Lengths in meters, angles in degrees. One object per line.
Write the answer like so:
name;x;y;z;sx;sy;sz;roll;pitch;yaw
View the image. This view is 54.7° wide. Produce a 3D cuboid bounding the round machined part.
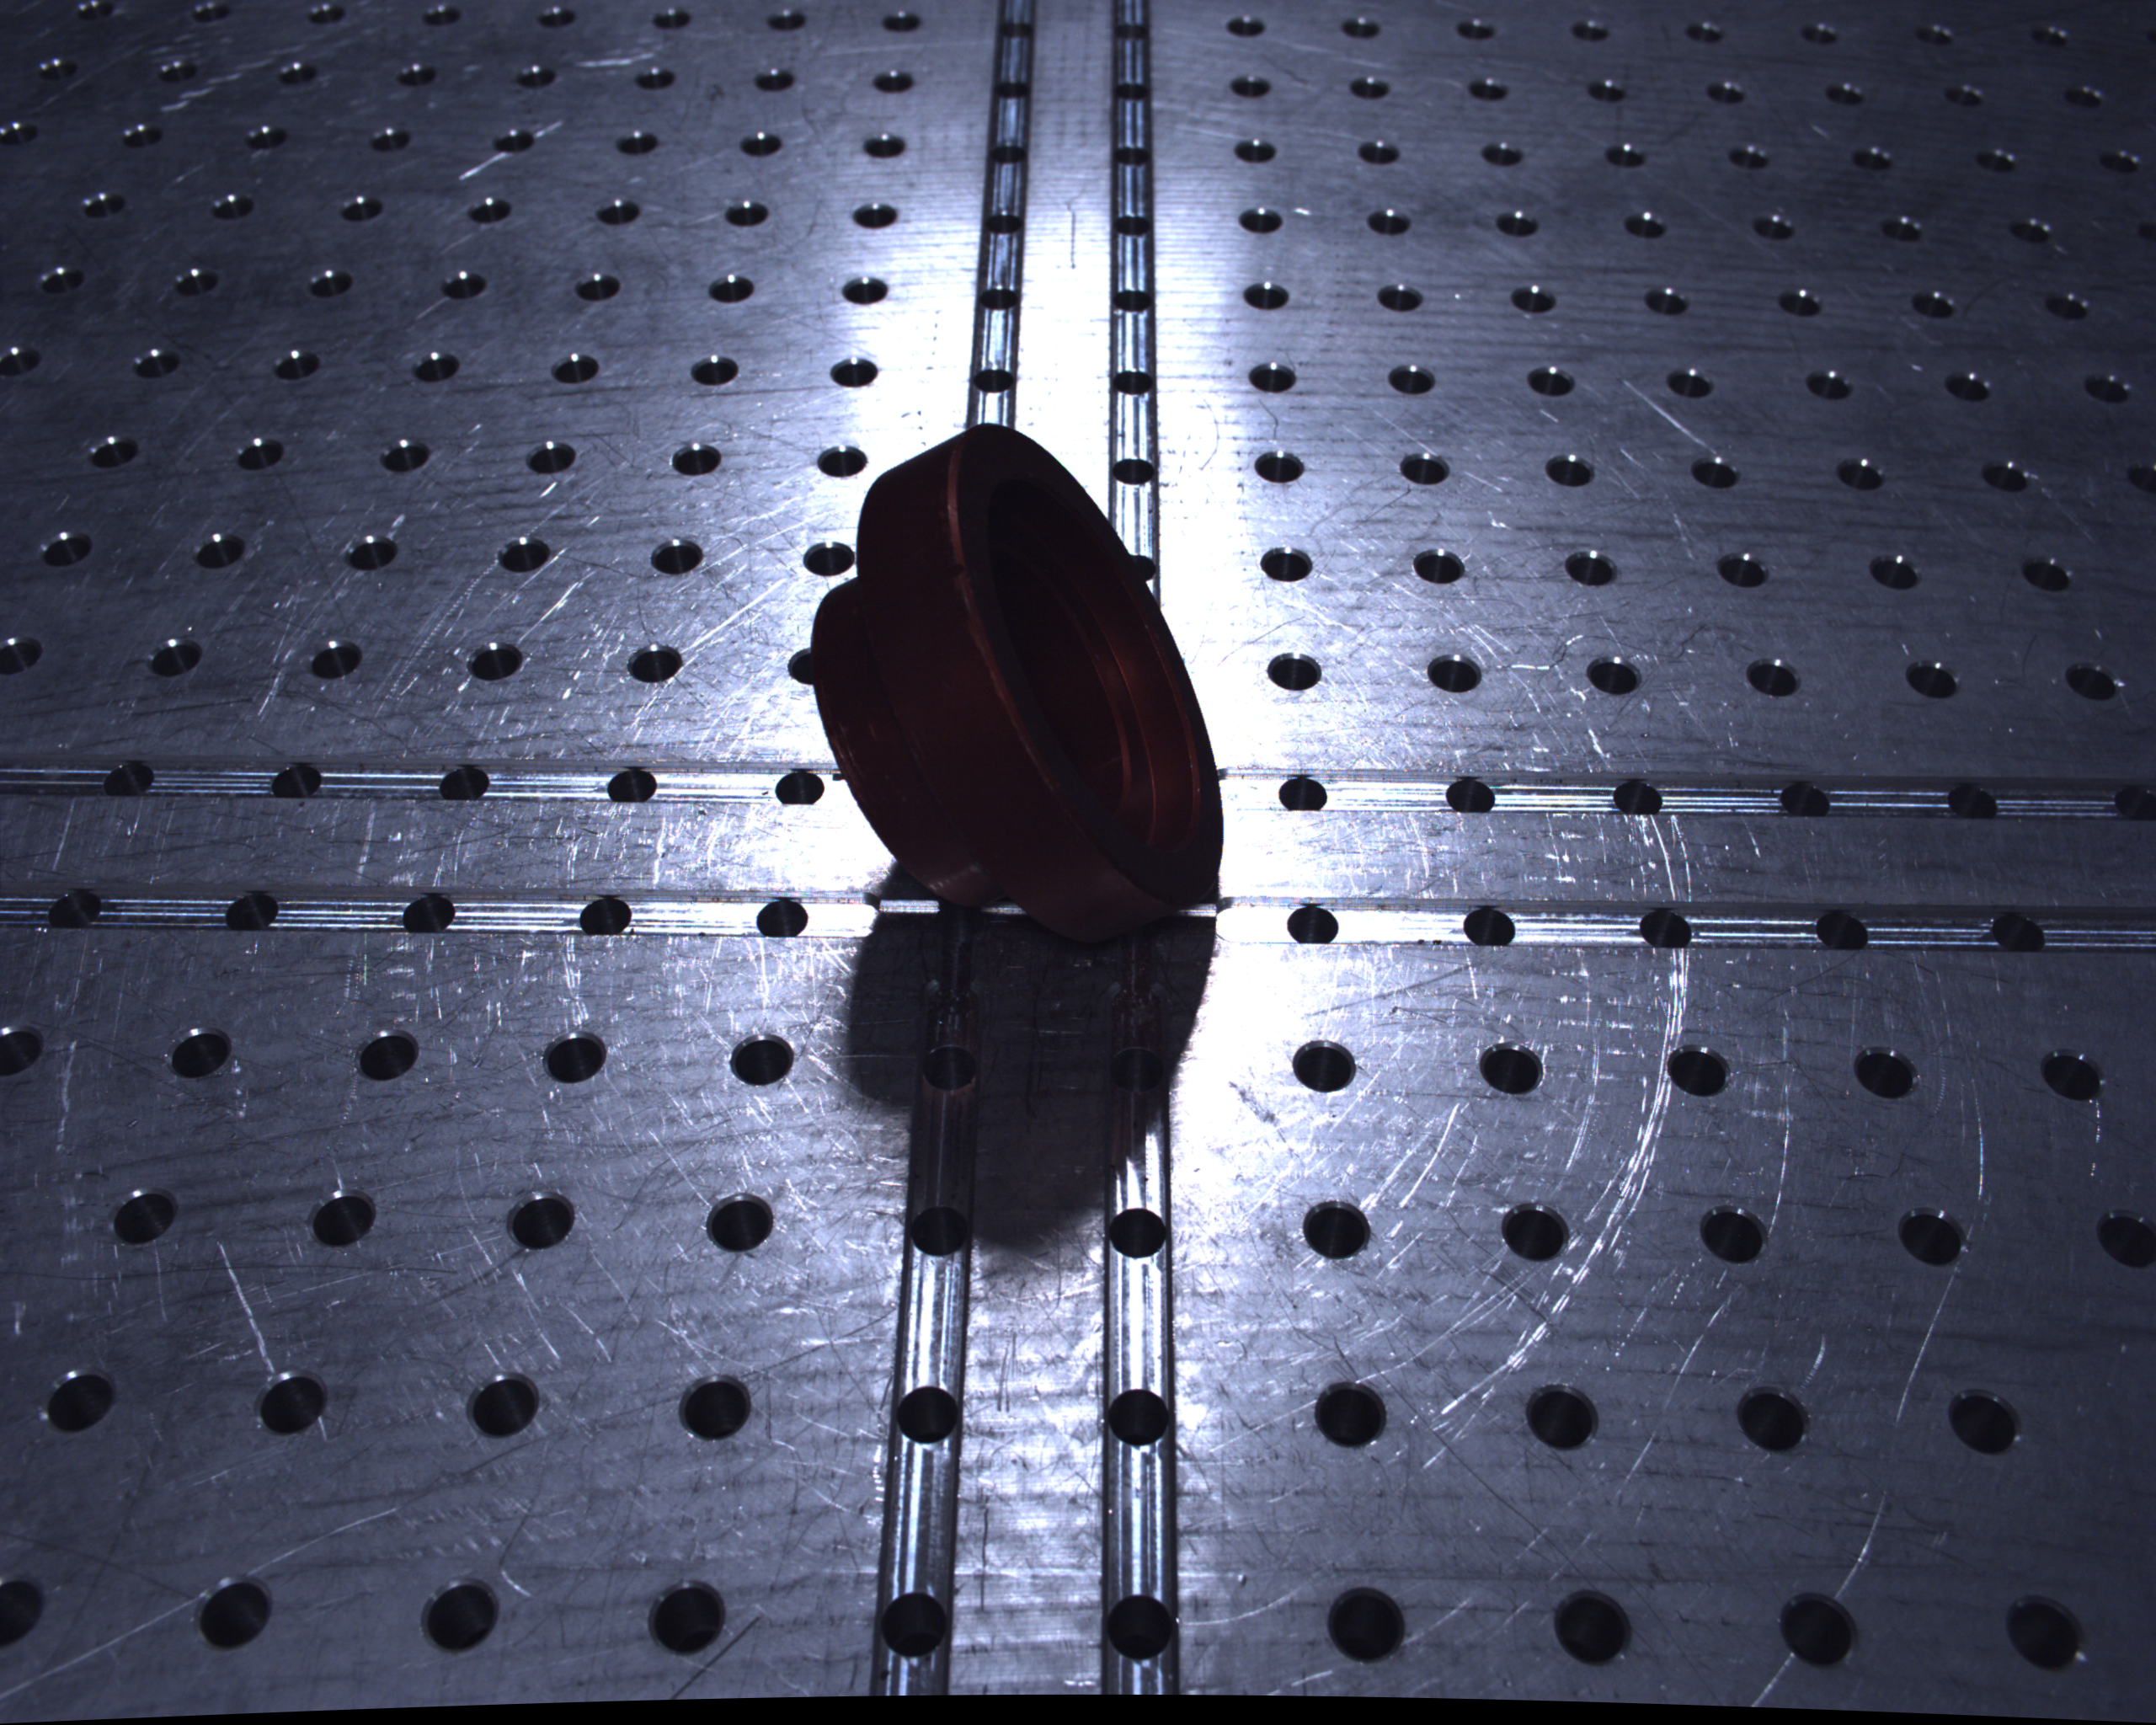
round machined part;-0.014;-0.031;0.397;0.042;0.098;0.098;-23;46;22
